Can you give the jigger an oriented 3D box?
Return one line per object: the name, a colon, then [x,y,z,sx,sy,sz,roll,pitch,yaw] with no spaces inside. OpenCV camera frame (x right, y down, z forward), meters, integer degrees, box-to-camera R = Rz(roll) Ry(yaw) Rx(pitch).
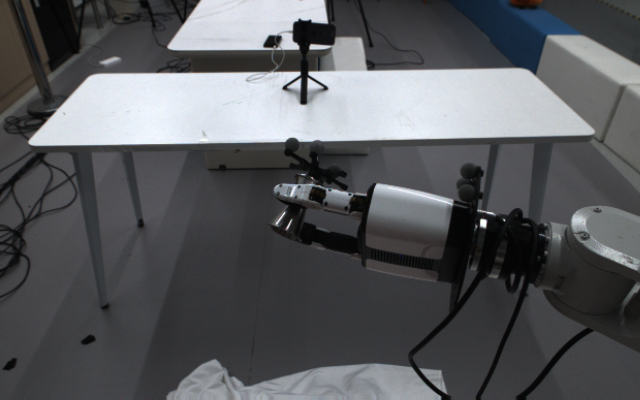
jigger: [-0.027,0.006,0.554,0.043,0.043,0.071,20,74,24]
